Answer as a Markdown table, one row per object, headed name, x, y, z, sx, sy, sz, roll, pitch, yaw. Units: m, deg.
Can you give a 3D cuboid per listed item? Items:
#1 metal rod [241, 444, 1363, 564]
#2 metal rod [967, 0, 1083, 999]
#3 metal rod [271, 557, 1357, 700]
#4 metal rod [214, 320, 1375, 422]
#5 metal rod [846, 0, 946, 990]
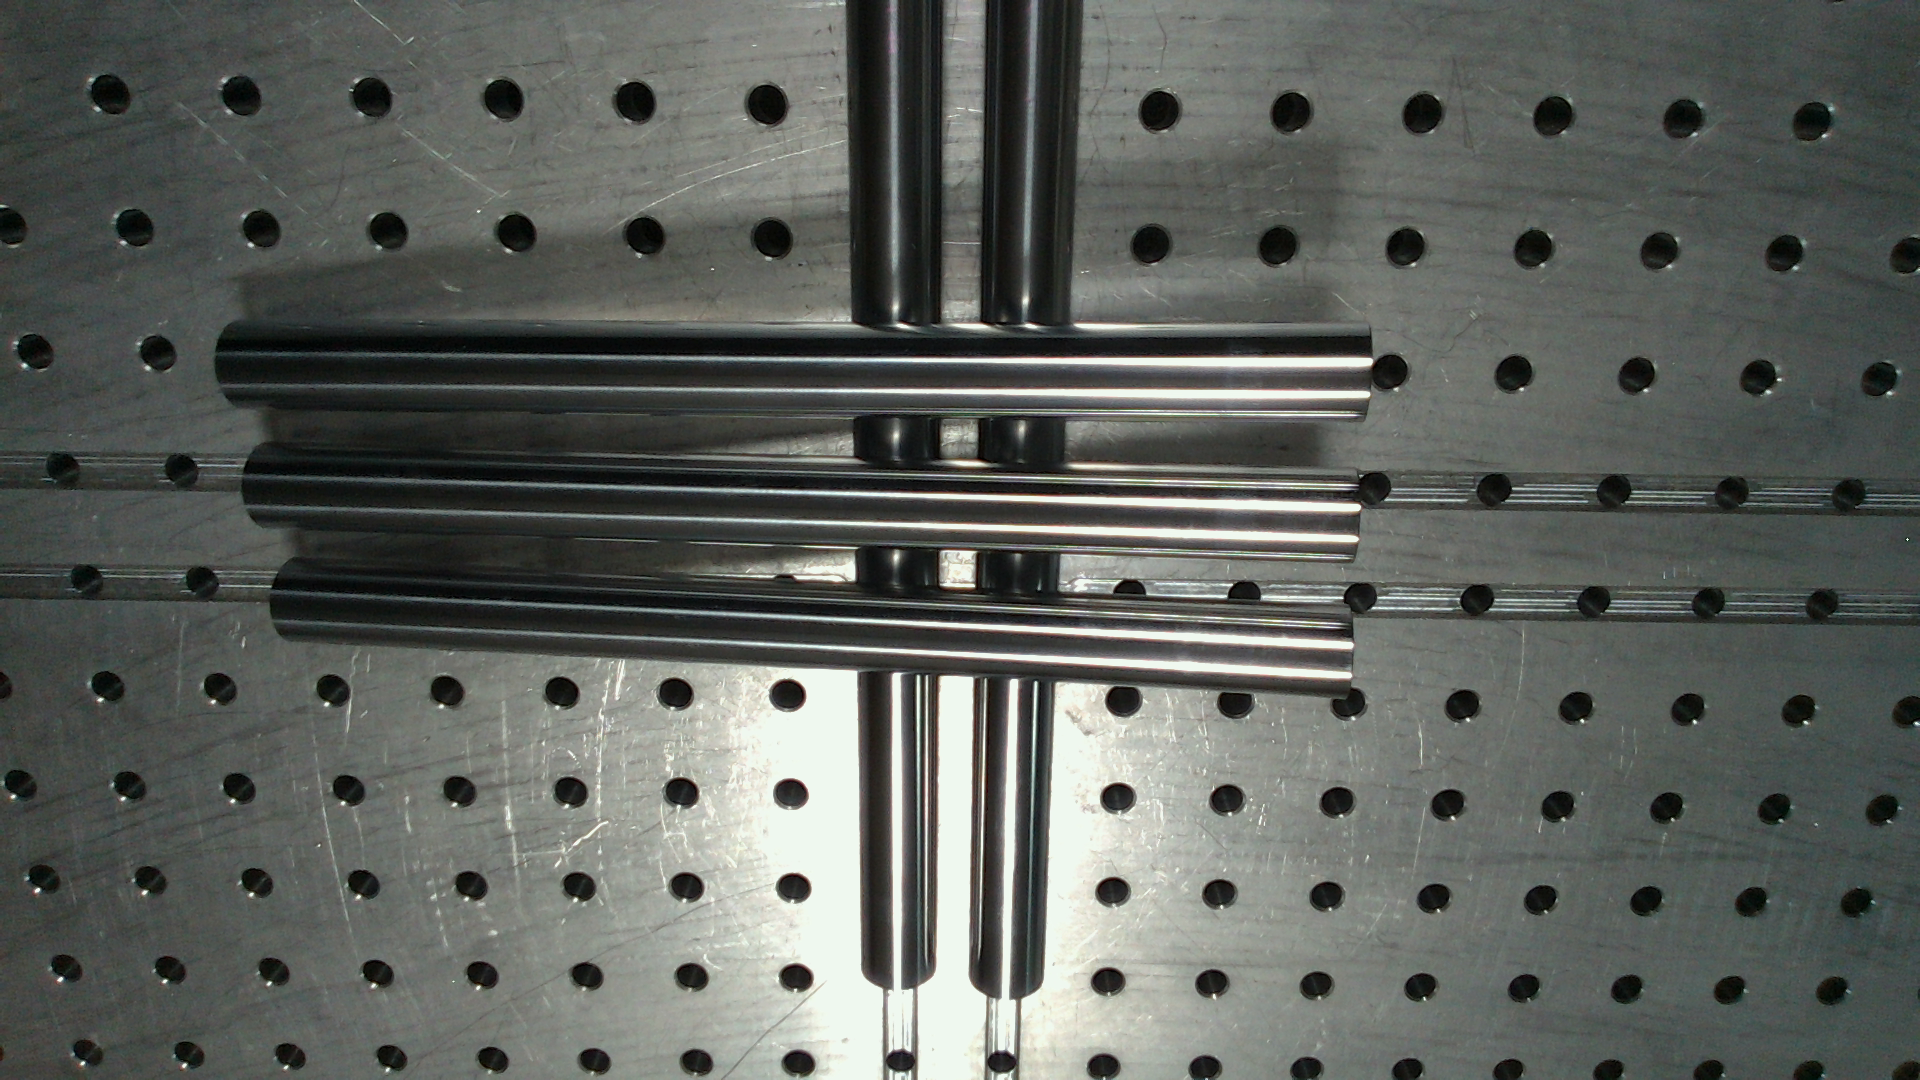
| name | x | y | z | sx | sy | sz | roll | pitch | yaw |
| --- | --- | --- | --- | --- | --- | --- | --- | --- | --- |
| metal rod | -0.048 | -0.011 | 0.370 | 0.300 | 0.025 | 0.025 | 2 | 110 | 8 |
| metal rod | 0.017 | 0.001 | 0.397 | 0.025 | 0.025 | 0.300 | 1 | 110 | 0 |
| metal rod | -0.046 | 0.024 | 0.382 | 0.300 | 0.025 | 0.025 | 2 | 110 | 8 |
| metal rod | -0.049 | -0.045 | 0.358 | 0.300 | 0.025 | 0.025 | 1 | 110 | 8 |
| metal rod | -0.018 | -0.002 | 0.396 | 0.025 | 0.025 | 0.300 | 1 | 110 | 0 |
